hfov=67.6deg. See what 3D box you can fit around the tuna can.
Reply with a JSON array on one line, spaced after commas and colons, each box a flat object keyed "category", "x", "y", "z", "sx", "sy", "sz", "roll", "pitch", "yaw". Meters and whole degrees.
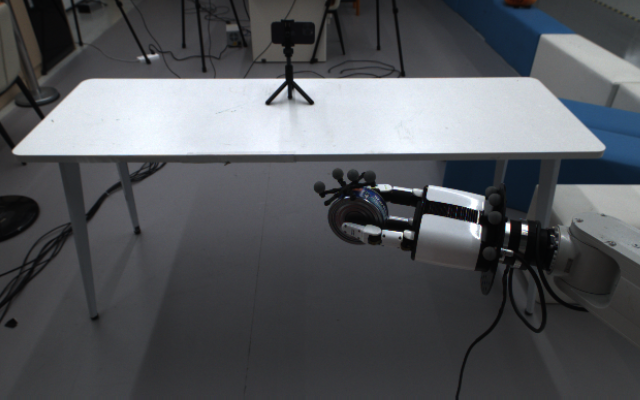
[{"category": "tuna can", "x": 0.059, "y": 0.030, "z": 0.712, "sx": 0.085, "sy": 0.085, "sz": 0.034, "roll": 11, "pitch": 34, "yaw": 13}]
